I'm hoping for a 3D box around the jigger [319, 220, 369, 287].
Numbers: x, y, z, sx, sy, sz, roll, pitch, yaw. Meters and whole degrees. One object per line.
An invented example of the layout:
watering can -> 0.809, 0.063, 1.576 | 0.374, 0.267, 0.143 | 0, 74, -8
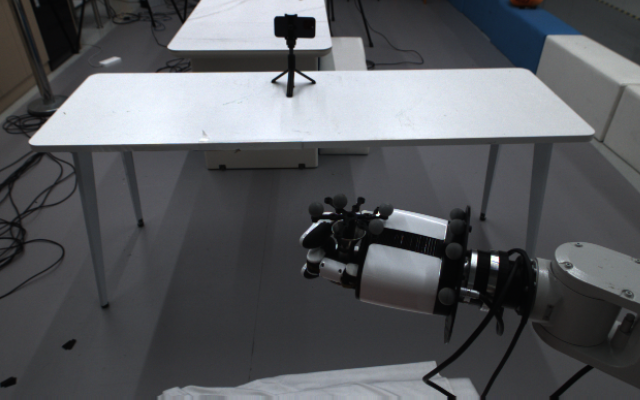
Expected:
jigger -> 0.034, 0.061, 0.583 | 0.043, 0.071, 0.043 | 4, 31, -2
